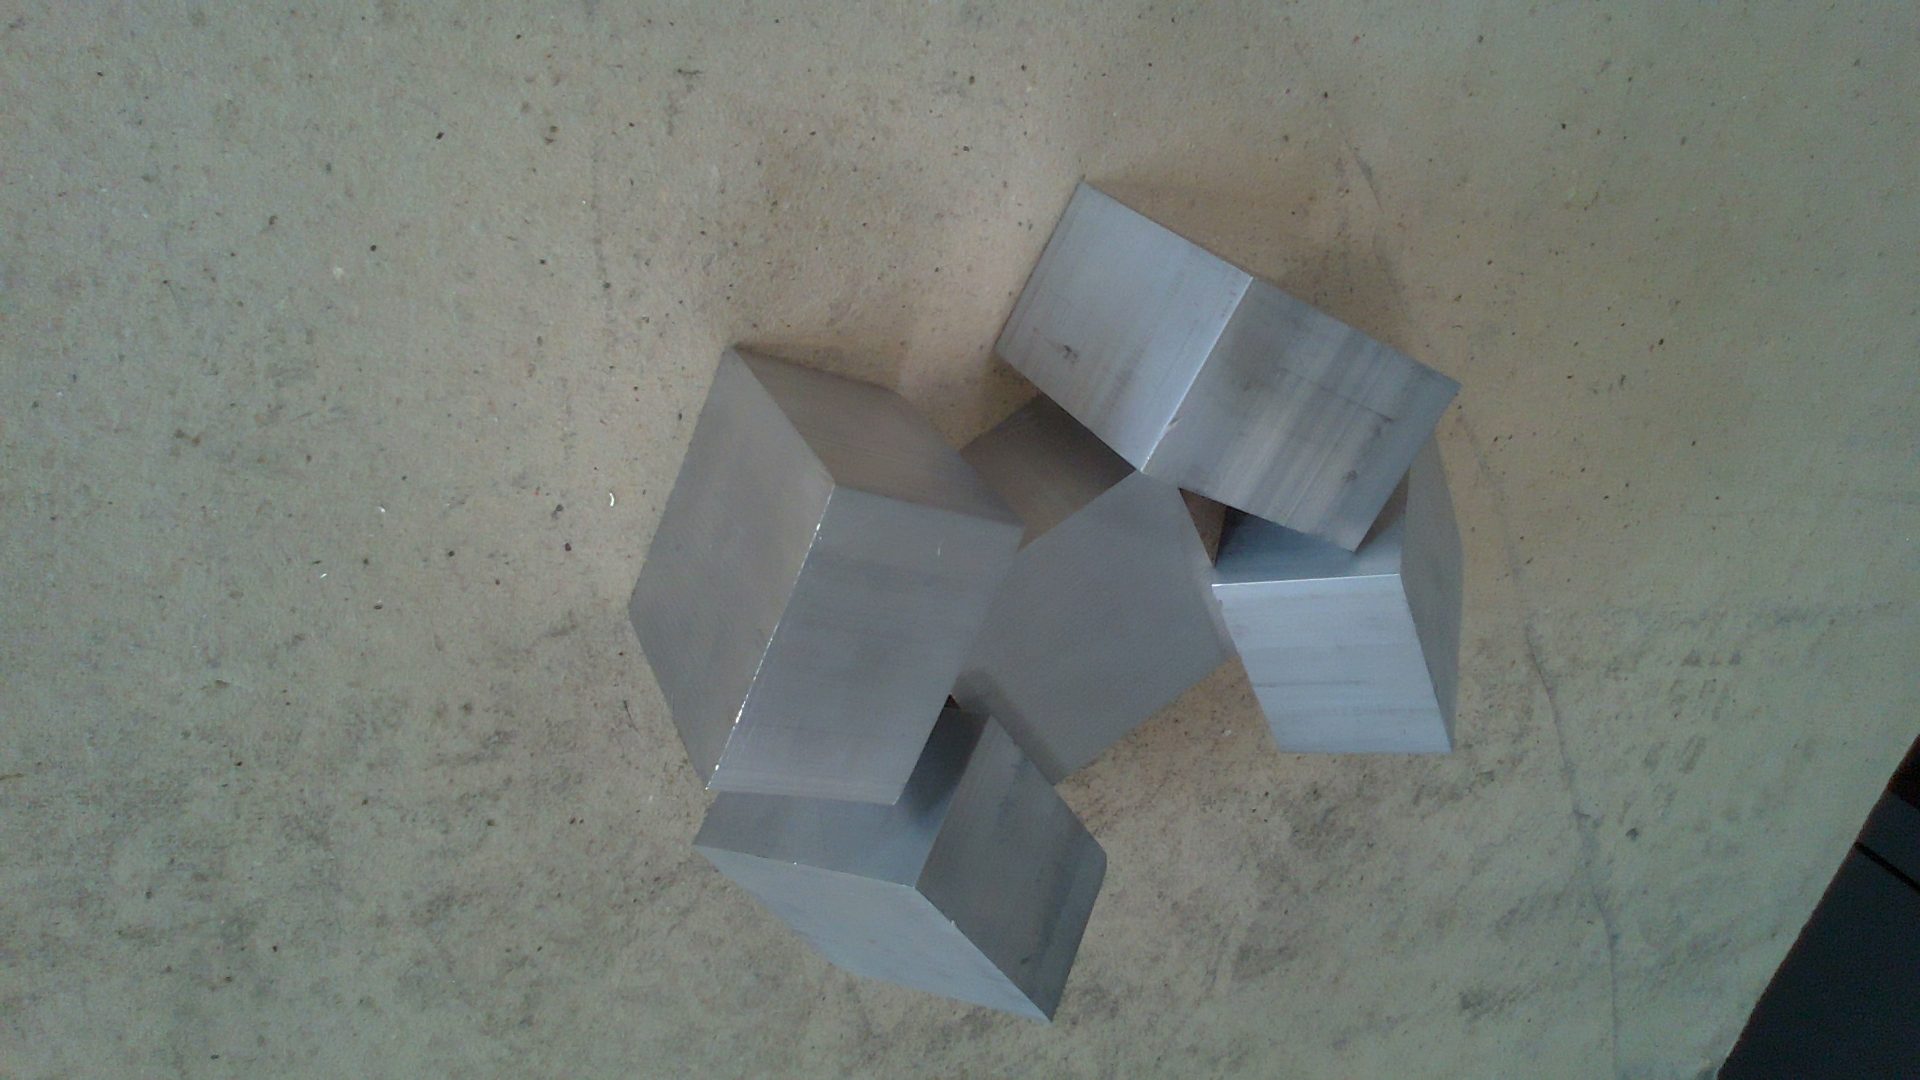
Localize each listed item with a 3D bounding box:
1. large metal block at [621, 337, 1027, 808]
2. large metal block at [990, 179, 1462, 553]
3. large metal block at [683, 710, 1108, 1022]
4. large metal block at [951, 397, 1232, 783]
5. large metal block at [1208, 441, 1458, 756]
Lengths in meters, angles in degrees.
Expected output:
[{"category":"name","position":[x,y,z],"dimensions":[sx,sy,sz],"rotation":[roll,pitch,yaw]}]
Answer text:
[{"category":"large metal block","position":[-0.038,0.007,0.339],"dimensions":[0.050,0.080,0.080],"rotation":[12,113,-34]},{"category":"large metal block","position":[0.068,-0.046,0.363],"dimensions":[0.080,0.080,0.050],"rotation":[17,109,-35]},{"category":"large metal block","position":[-0.016,0.089,0.392],"dimensions":[0.080,0.080,0.050],"rotation":[54,50,-39]},{"category":"large metal block","position":[0.025,0.015,0.394],"dimensions":[0.080,0.050,0.080],"rotation":[-35,130,-5]},{"category":"large metal block","position":[0.116,0.009,0.415],"dimensions":[0.050,0.080,0.080],"rotation":[-5,135,28]}]
